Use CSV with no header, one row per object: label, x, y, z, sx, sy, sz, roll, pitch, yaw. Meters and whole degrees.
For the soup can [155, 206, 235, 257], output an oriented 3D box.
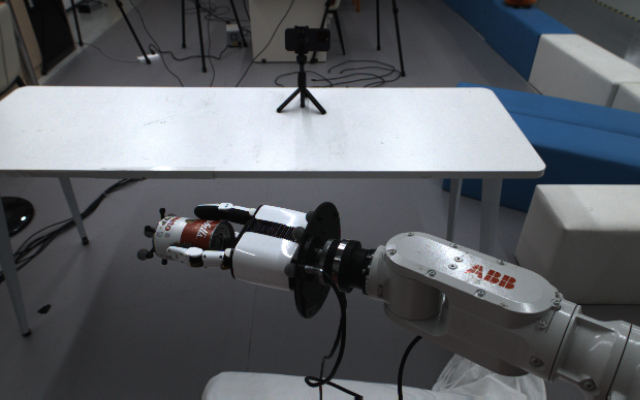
soup can,-0.186,0.063,0.720,0.101,0.067,0.067,4,34,20
